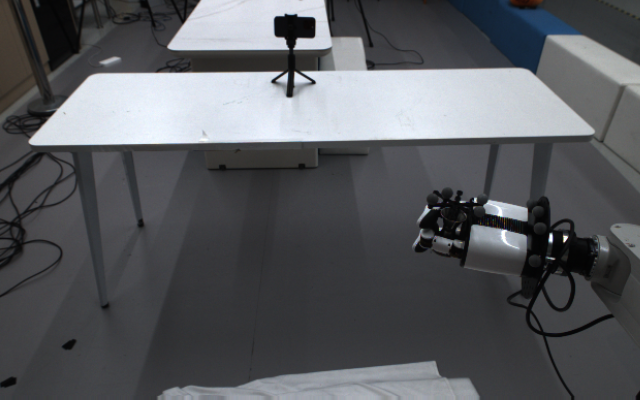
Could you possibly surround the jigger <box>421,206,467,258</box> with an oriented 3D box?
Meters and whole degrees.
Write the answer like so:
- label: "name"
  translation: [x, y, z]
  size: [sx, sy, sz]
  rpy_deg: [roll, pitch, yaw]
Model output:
- label: "jigger"
  translation: [0.207, 0.048, 0.769]
  size: [0.043, 0.071, 0.043]
  rpy_deg: [4, 31, -2]
